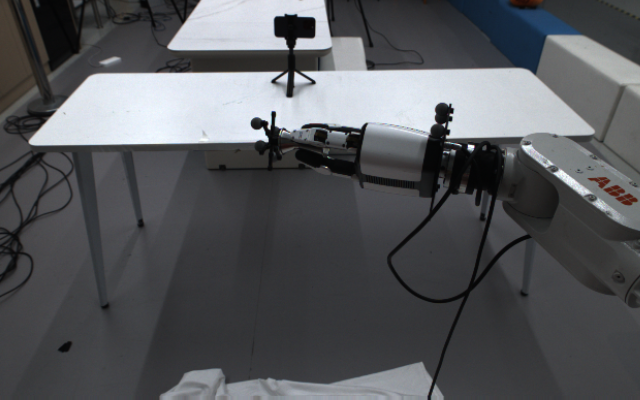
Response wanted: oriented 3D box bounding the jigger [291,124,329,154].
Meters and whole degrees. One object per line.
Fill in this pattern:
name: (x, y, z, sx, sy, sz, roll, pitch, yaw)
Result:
jigger: (-0.016, -0.089, 0.709, 0.071, 0.043, 0.043, 3, 34, 16)
